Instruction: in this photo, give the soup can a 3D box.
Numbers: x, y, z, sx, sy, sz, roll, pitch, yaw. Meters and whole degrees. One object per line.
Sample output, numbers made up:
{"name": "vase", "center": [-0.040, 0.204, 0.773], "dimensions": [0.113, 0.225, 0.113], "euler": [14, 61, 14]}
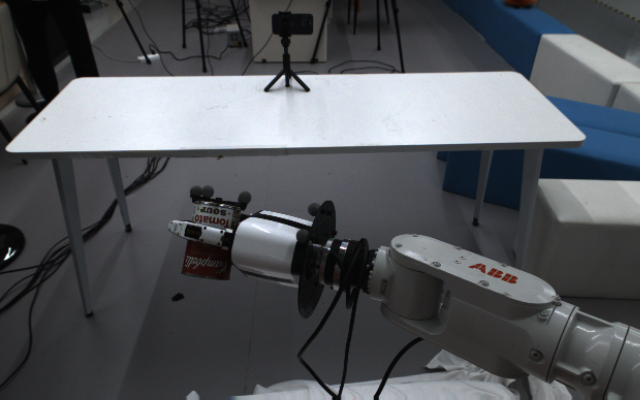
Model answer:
{"name": "soup can", "center": [-0.151, 0.058, 0.675], "dimensions": [0.067, 0.101, 0.067], "euler": [9, -6, 1]}
